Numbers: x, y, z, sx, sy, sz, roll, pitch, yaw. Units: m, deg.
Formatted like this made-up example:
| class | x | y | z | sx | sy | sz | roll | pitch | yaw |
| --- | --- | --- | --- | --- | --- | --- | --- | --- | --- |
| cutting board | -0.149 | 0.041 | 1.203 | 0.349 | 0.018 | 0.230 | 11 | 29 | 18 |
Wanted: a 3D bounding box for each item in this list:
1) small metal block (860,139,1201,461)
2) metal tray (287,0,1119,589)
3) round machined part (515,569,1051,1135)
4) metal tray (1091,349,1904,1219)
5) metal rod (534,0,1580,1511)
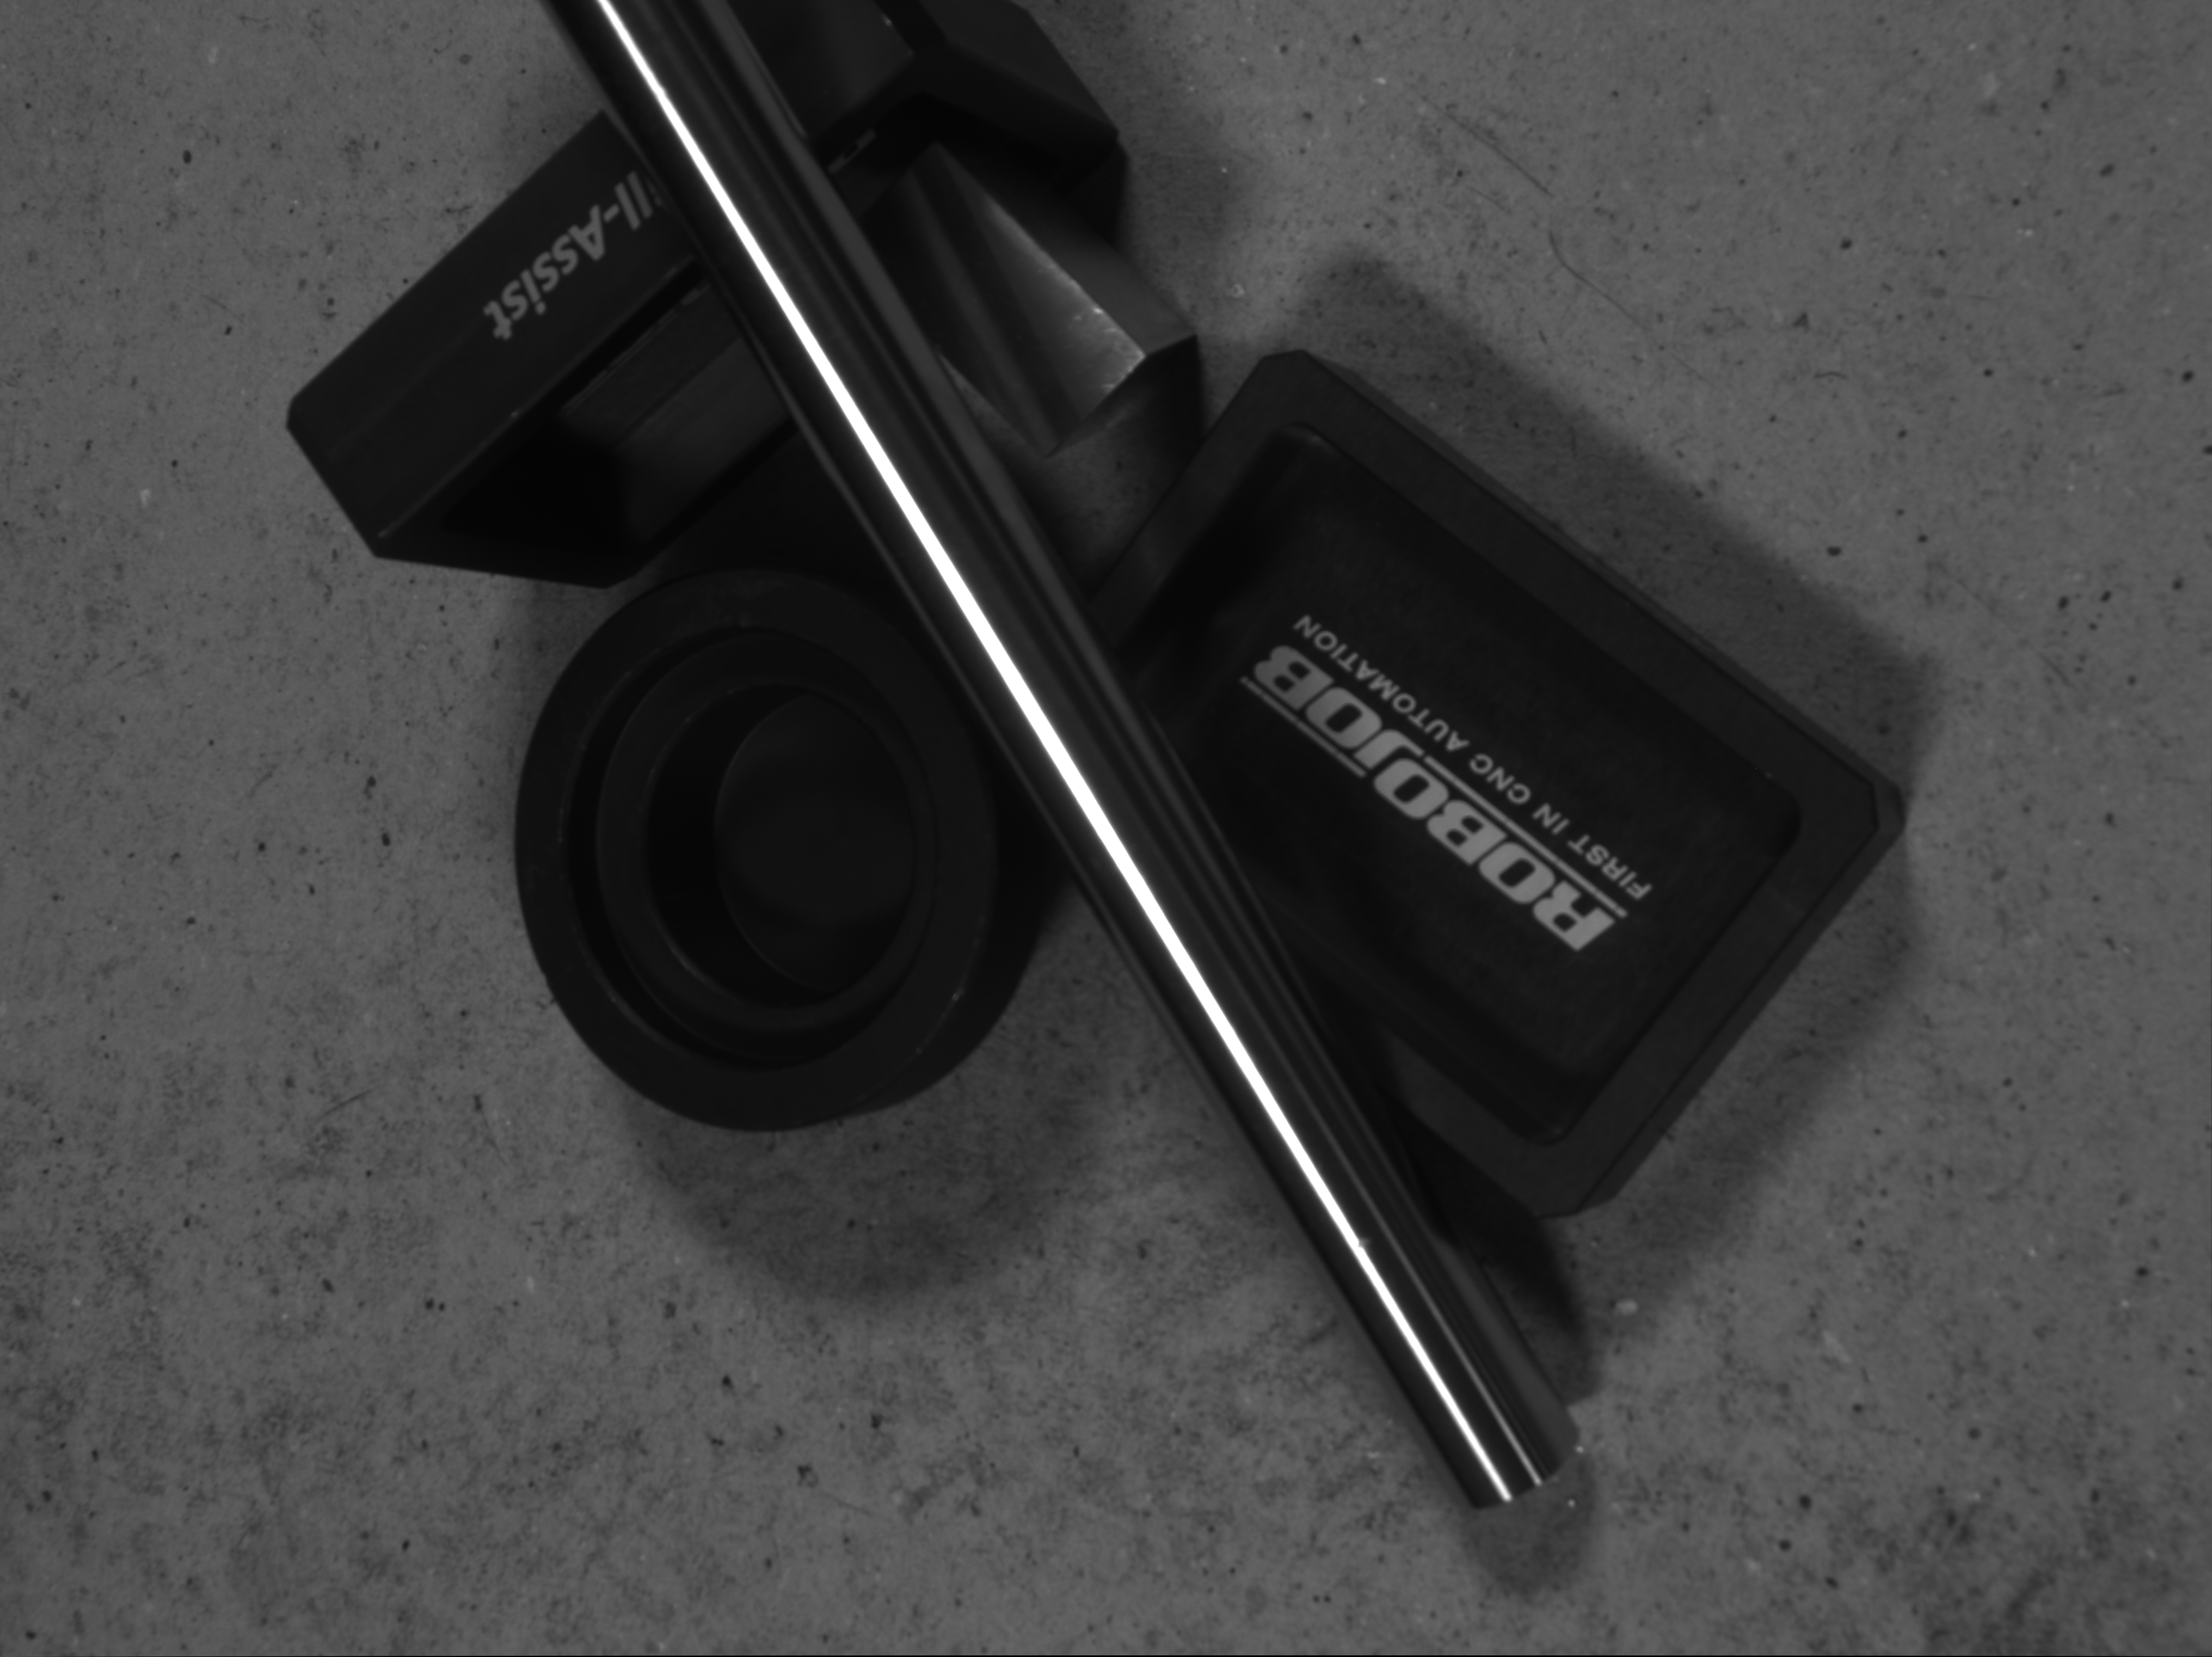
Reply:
| class | x | y | z | sx | sy | sz | roll | pitch | yaw |
| --- | --- | --- | --- | --- | --- | --- | --- | --- | --- |
| small metal block | -0.014 | -0.093 | 0.631 | 0.050 | 0.050 | 0.025 | 45 | 107 | 0 |
| metal tray | -0.068 | -0.096 | 0.634 | 0.130 | 0.090 | 0.030 | -39 | 77 | 15 |
| round machined part | -0.053 | 0.003 | 0.650 | 0.098 | 0.042 | 0.098 | 2 | 94 | 26 |
| metal tray | 0.057 | -0.008 | 0.622 | 0.130 | 0.030 | 0.090 | 40 | 102 | 15 |
| metal rod | -0.007 | -0.017 | 0.590 | 0.025 | 0.025 | 0.300 | -27 | 103 | 18 |
